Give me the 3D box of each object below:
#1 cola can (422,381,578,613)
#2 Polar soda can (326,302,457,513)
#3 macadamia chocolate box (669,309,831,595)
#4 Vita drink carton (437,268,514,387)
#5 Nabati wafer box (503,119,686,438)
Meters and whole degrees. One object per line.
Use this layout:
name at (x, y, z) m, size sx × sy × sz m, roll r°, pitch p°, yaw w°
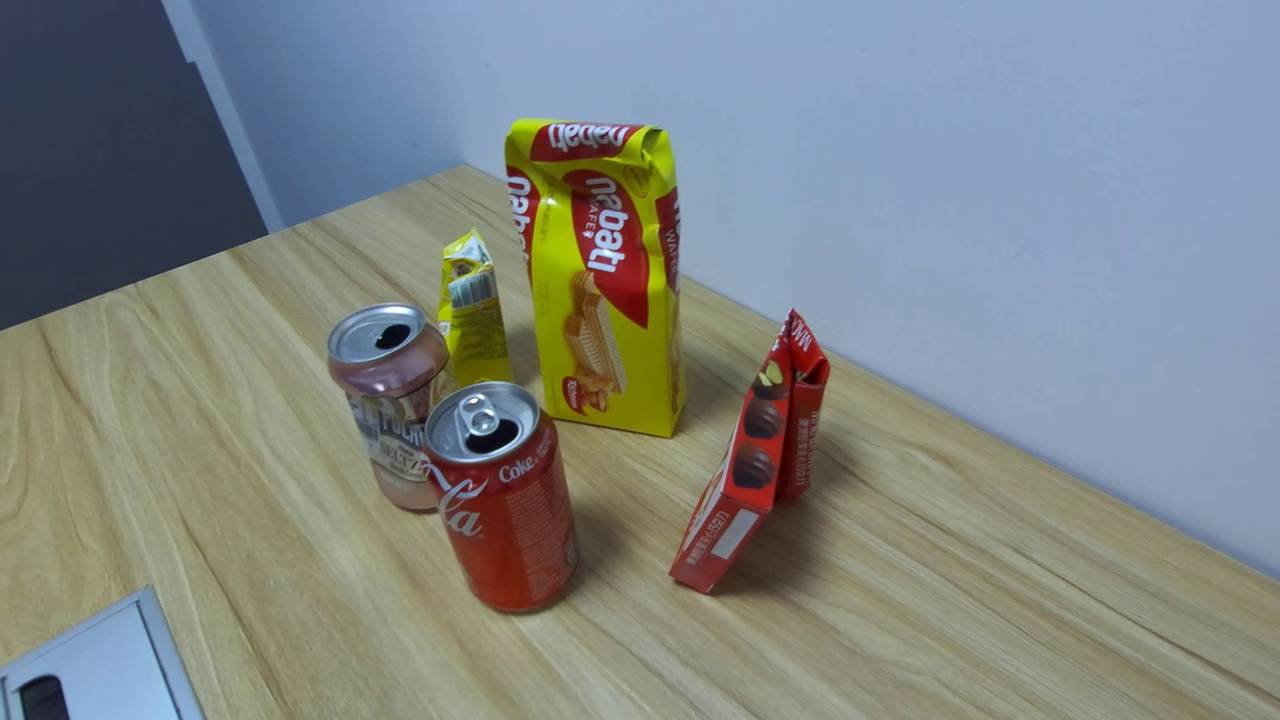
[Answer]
cola can at (-0.071, 0.071, 0.370) m, size 0.068 × 0.120 × 0.067 m, roll -3°, pitch 40°, yaw 3°
Polar soda can at (-0.141, 0.031, 0.429) m, size 0.067 × 0.122 × 0.074 m, roll -17°, pitch 37°, yaw -13°
macadamia chocolate box at (0.062, 0.051, 0.384) m, size 0.056 × 0.112 × 0.126 m, roll 17°, pitch 43°, yaw 22°
Vita drink carton at (-0.125, -0.030, 0.512) m, size 0.046 × 0.110 × 0.071 m, roll -15°, pitch 38°, yaw -17°
Nabati wafer box at (-0.023, -0.043, 0.439) m, size 0.113 × 0.205 × 0.042 m, roll 7°, pitch 38°, yaw 18°
